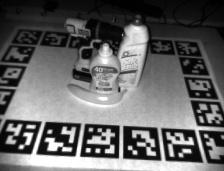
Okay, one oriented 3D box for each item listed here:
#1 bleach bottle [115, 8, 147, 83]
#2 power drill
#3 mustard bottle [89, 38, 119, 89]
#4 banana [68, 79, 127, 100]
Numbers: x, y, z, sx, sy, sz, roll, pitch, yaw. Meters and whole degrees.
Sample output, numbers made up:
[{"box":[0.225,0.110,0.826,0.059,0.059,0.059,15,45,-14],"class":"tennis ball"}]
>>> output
[{"box":[0.049,-0.120,0.686,0.102,0.252,0.067,5,44,1],"class":"bleach bottle"},{"box":[-0.061,-0.135,0.693,0.184,0.187,0.057,14,49,6],"class":"power drill"},{"box":[-0.025,-0.065,0.664,0.096,0.192,0.058,4,50,-1],"class":"mustard bottle"},{"box":[-0.051,0.011,0.710,0.197,0.039,0.074,7,51,3],"class":"banana"}]
